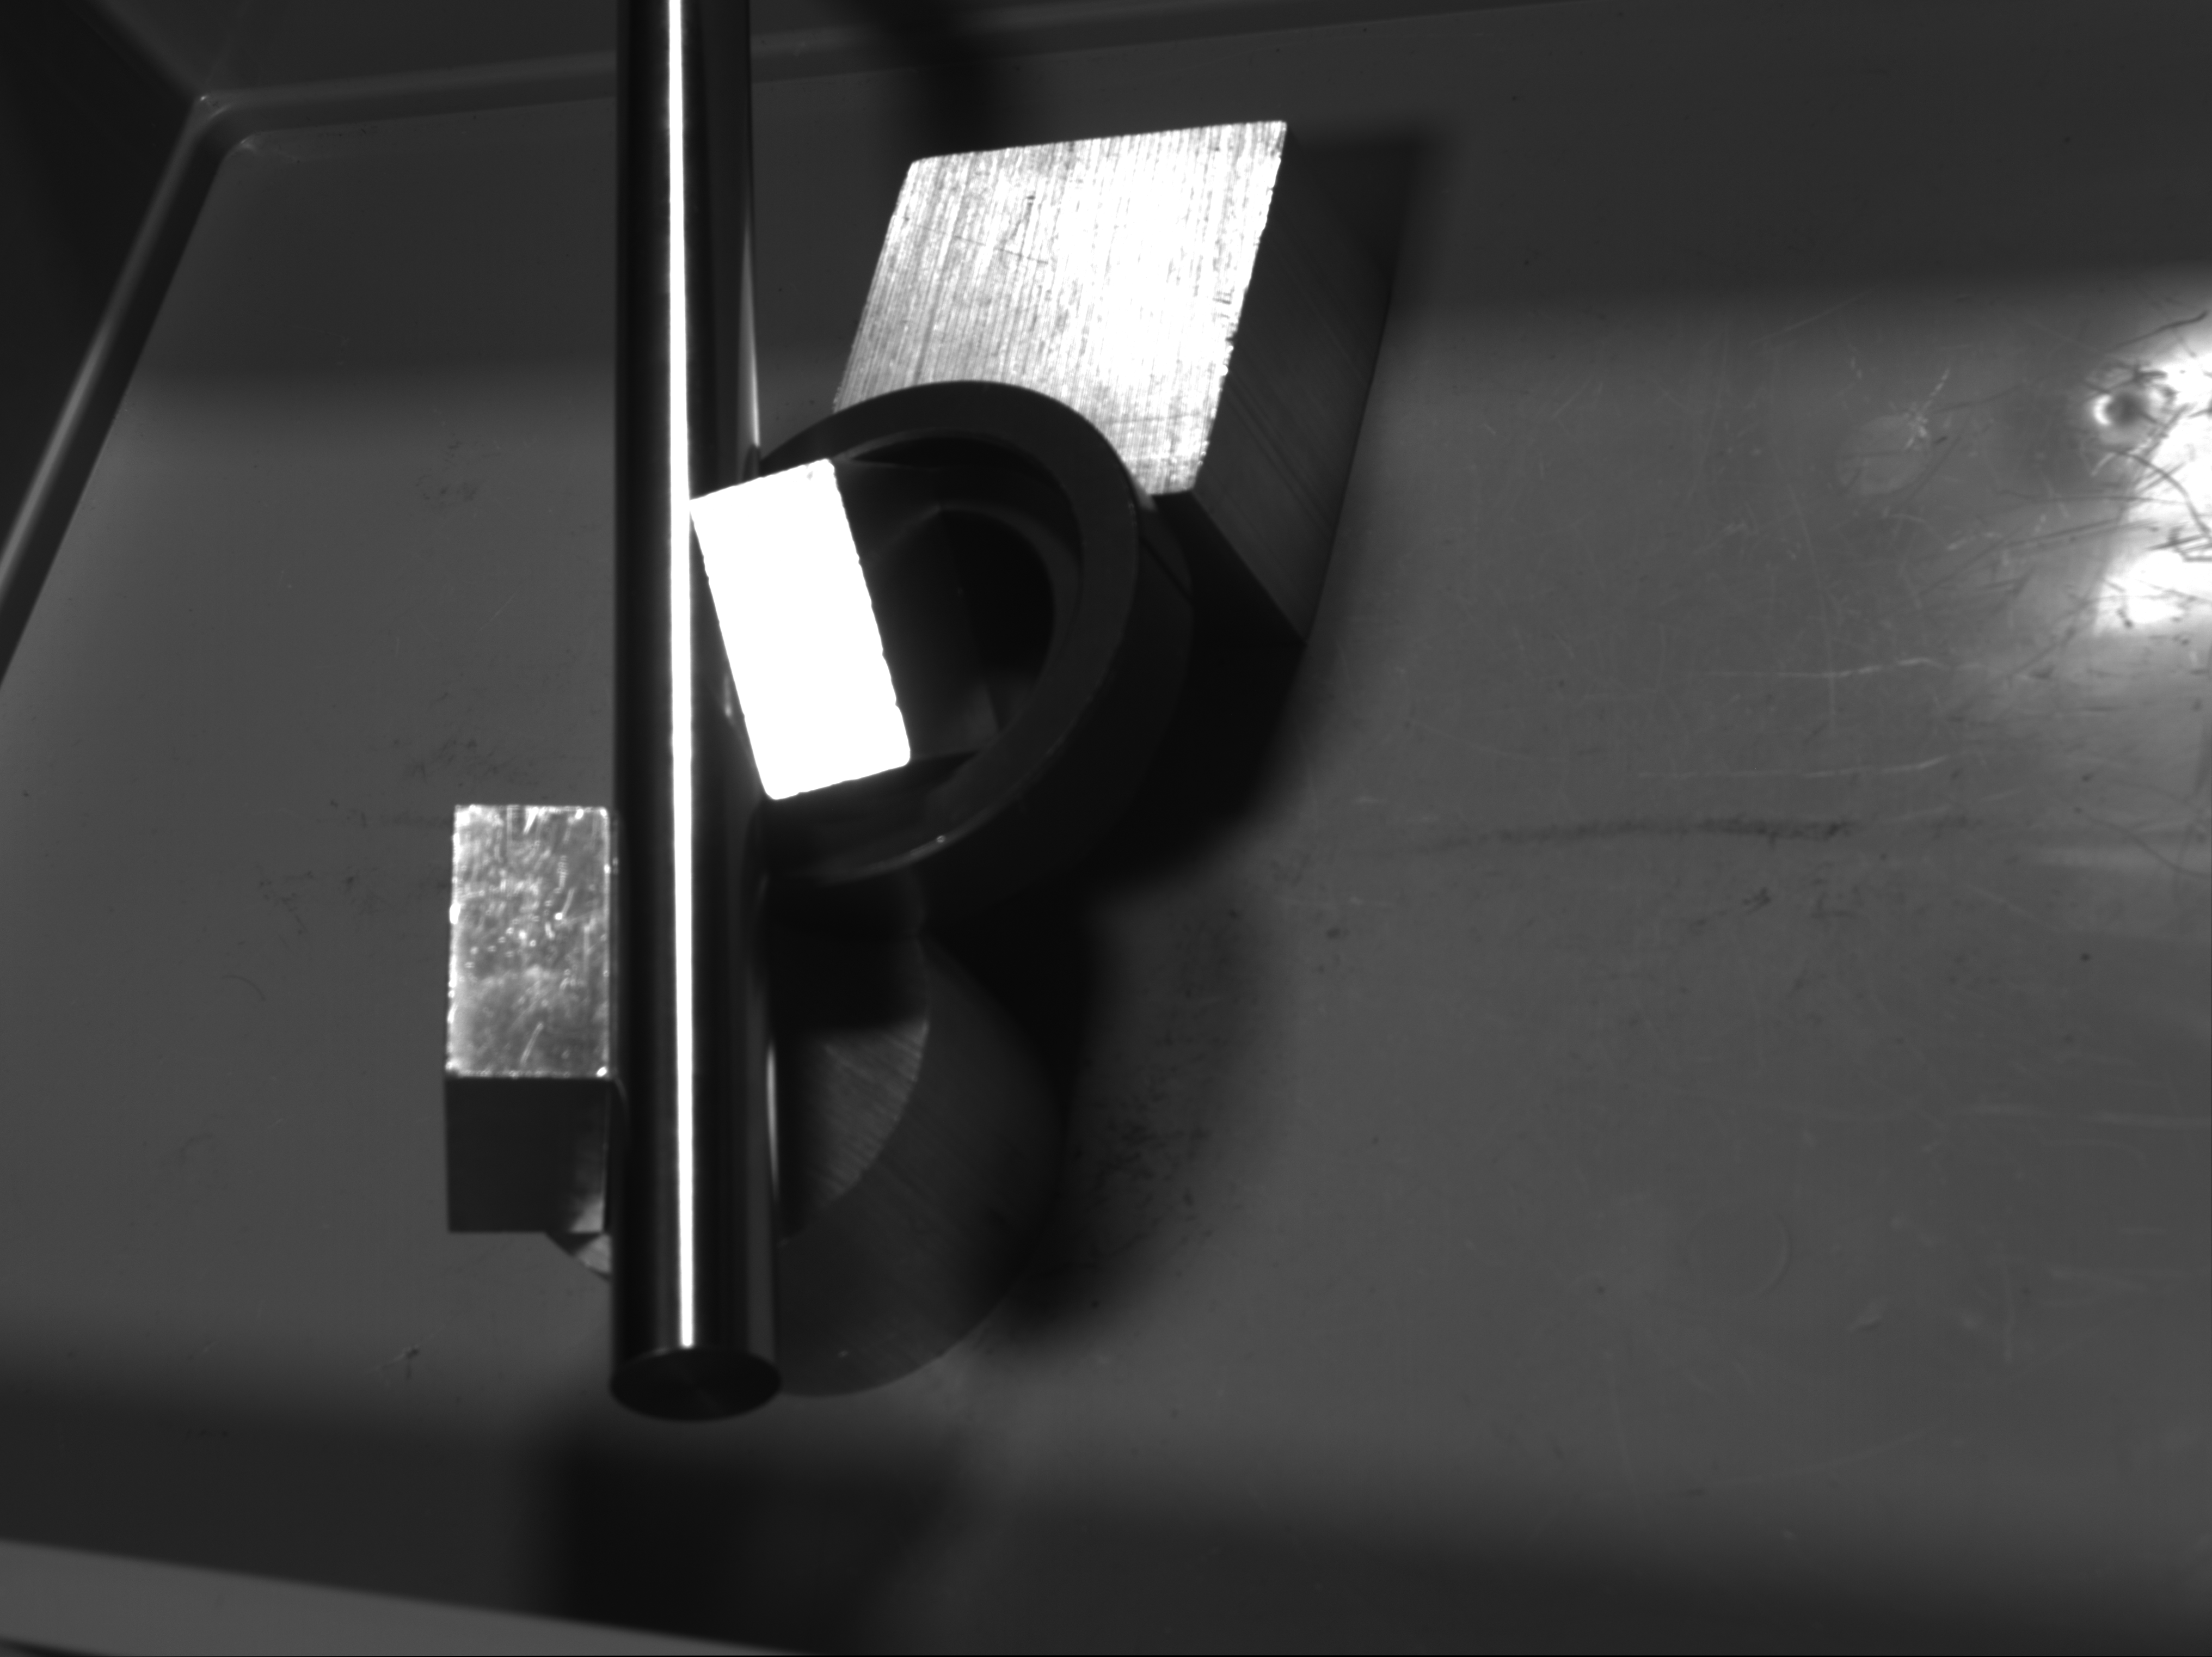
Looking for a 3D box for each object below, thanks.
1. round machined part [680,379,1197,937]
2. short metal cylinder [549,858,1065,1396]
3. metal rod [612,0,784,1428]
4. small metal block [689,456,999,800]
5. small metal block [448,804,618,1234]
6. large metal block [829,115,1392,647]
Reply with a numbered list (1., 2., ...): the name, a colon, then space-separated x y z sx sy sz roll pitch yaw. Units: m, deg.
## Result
1. round machined part: -0.029 -0.025 0.625 0.098 0.042 0.098 -13 56 21
2. short metal cylinder: -0.054 0.050 0.626 0.080 0.050 0.080 -13 56 21
3. metal rod: -0.070 -0.042 0.617 0.025 0.025 0.300 -17 54 18
4. small metal block: -0.042 -0.033 0.608 0.025 0.050 0.050 -15 90 16
5. small metal block: -0.092 0.031 0.590 0.025 0.050 0.050 2 55 -9
6. large metal block: -0.001 -0.080 0.675 0.080 0.050 0.080 0 61 28
